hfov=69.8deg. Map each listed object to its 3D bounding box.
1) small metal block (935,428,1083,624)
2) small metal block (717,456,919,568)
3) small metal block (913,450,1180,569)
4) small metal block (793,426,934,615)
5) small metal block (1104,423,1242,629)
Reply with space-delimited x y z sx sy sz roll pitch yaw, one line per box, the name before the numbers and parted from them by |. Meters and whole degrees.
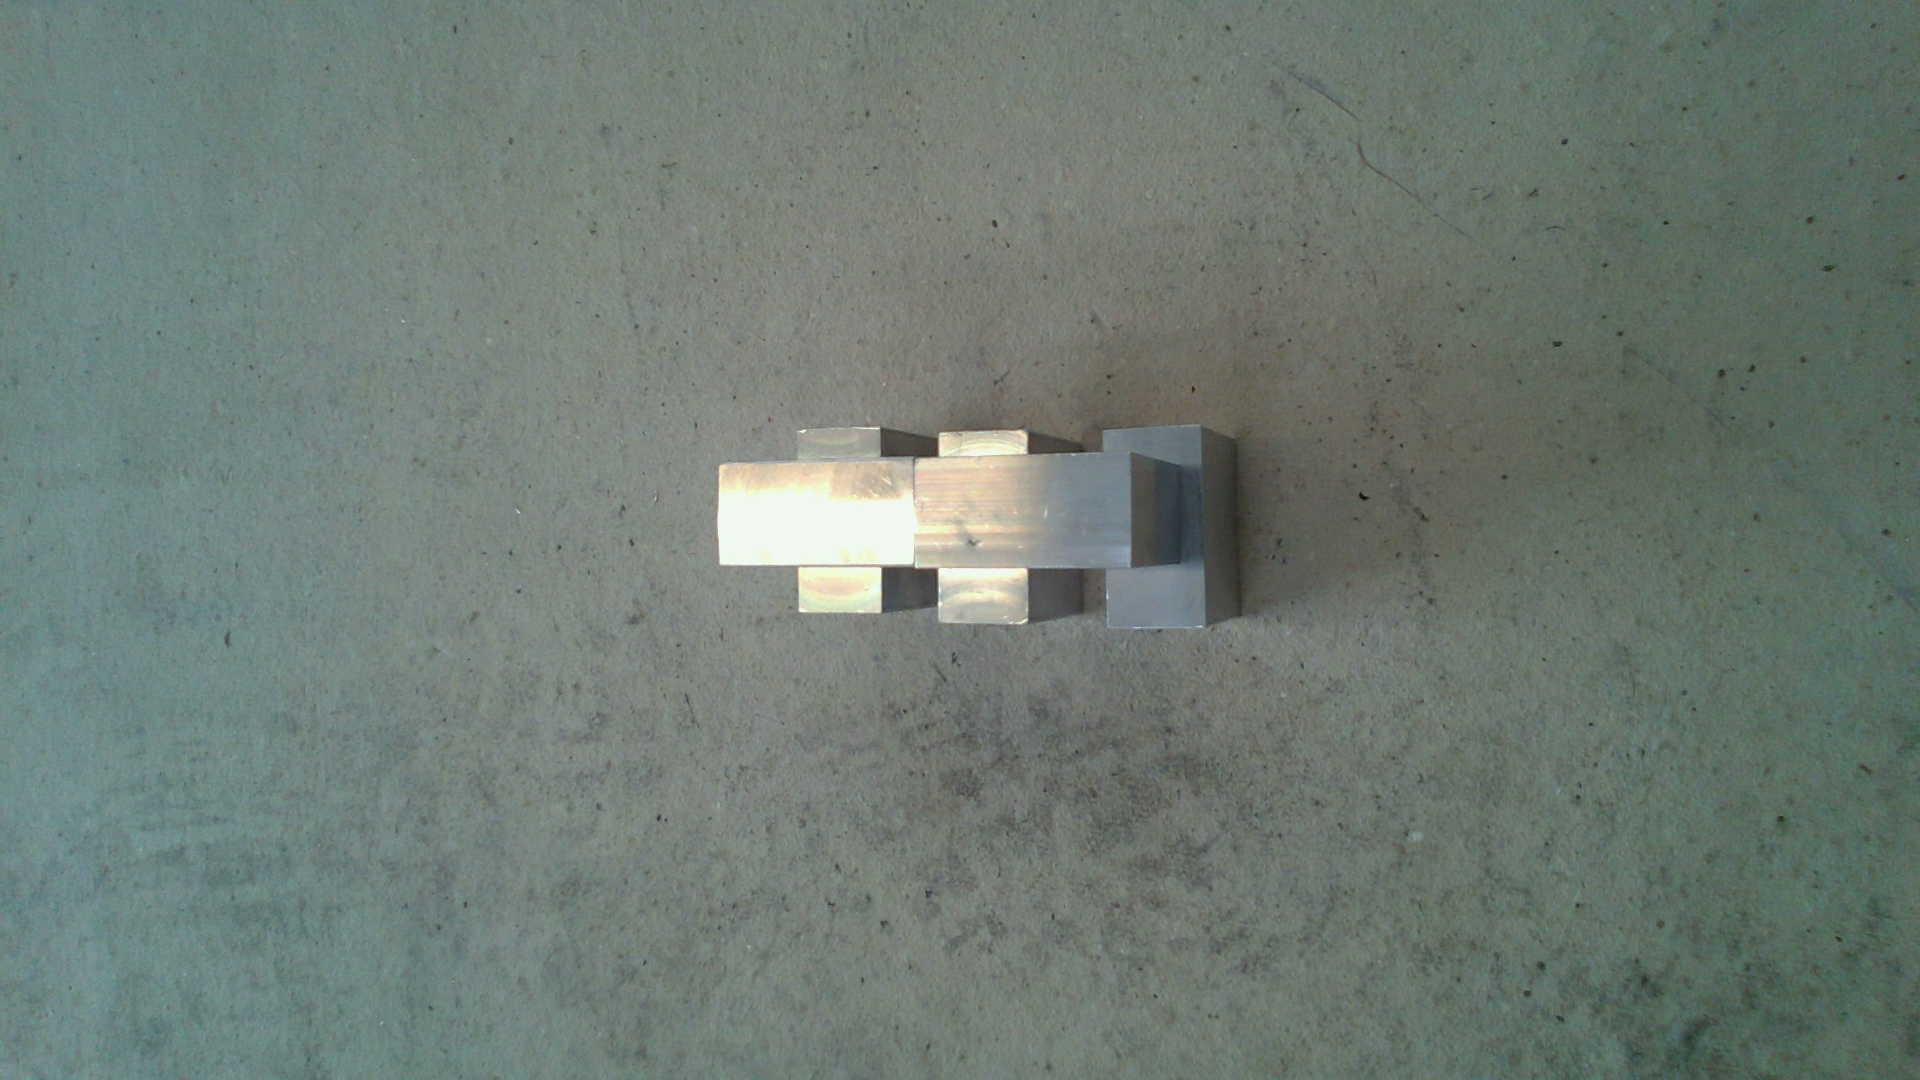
small metal block | 0.015 -0.003 0.378 0.025 0.050 0.050 -1 89 21
small metal block | -0.025 -0.006 0.339 0.050 0.050 0.025 0 90 20
small metal block | 0.022 -0.006 0.322 0.050 0.050 0.025 0 90 20
small metal block | -0.024 -0.005 0.391 0.025 0.050 0.050 -1 89 21
small metal block | 0.057 -0.003 0.363 0.025 0.050 0.050 -1 89 21
